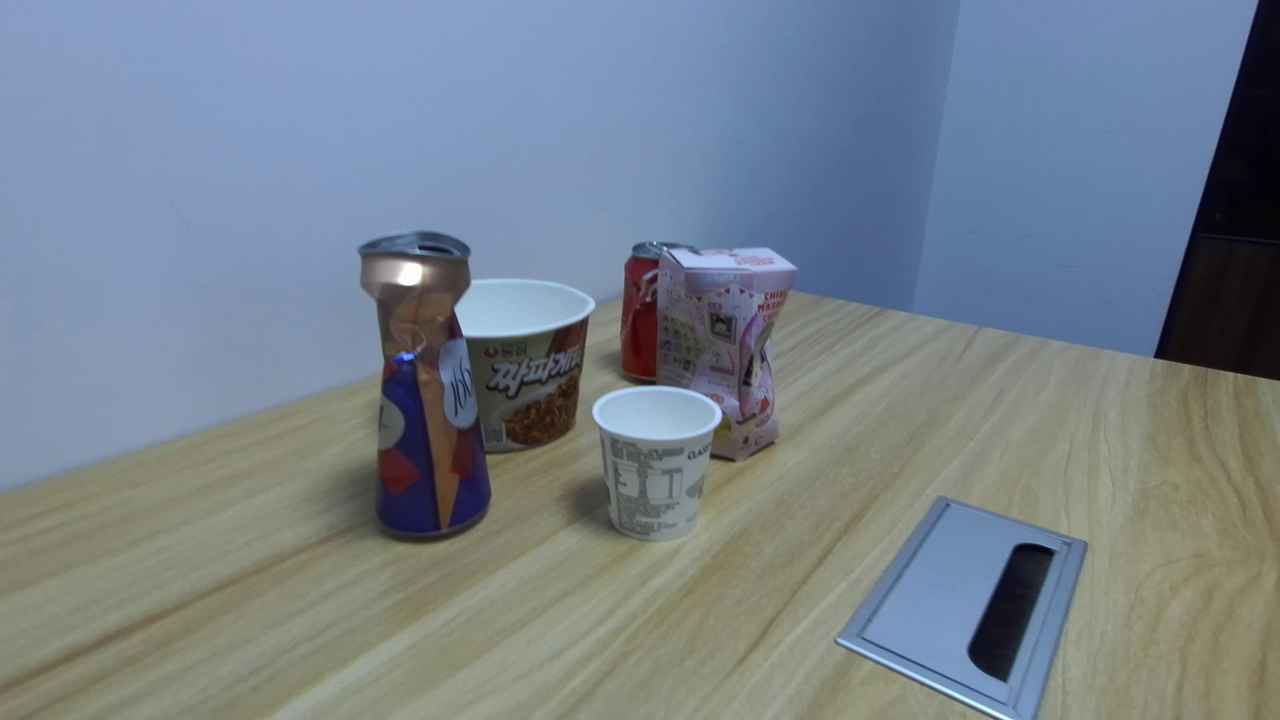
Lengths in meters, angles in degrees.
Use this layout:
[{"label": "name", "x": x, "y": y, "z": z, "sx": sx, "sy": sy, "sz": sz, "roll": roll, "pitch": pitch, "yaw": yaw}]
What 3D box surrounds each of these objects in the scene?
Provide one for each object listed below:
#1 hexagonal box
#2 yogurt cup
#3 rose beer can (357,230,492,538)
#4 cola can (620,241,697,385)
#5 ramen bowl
[{"label": "hexagonal box", "x": 0.055, "y": -0.005, "z": 0.486, "sx": 0.093, "sy": 0.134, "sz": 0.089, "roll": 6, "pitch": 20, "yaw": 9}, {"label": "yogurt cup", "x": 0.009, "y": 0.059, "z": 0.400, "sx": 0.072, "sy": 0.068, "sz": 0.072, "roll": 1, "pitch": 21, "yaw": 0}, {"label": "rose beer can", "x": -0.119, "y": 0.015, "z": 0.386, "sx": 0.068, "sy": 0.162, "sz": 0.073, "roll": -16, "pitch": 28, "yaw": -40}, {"label": "cola can", "x": 0.018, "y": -0.041, "z": 0.610, "sx": 0.067, "sy": 0.117, "sz": 0.065, "roll": -8, "pitch": 18, "yaw": -28}, {"label": "ramen bowl", "x": -0.103, "y": 0.003, "z": 0.517, "sx": 0.140, "sy": 0.095, "sz": 0.140, "roll": 1, "pitch": 19, "yaw": 0}]
